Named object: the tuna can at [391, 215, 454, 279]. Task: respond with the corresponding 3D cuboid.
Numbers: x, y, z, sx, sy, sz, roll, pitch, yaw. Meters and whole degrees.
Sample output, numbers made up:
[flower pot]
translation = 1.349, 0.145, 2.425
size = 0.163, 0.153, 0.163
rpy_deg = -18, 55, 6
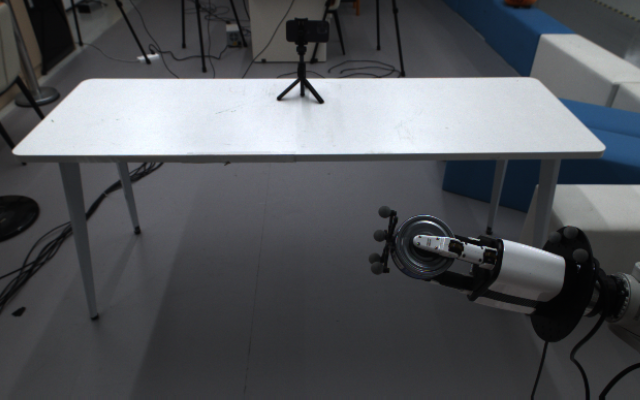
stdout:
[tuna can]
translation = 0.144, 0.063, 0.662
size = 0.085, 0.034, 0.085
rpy_deg = 2, 73, -6
